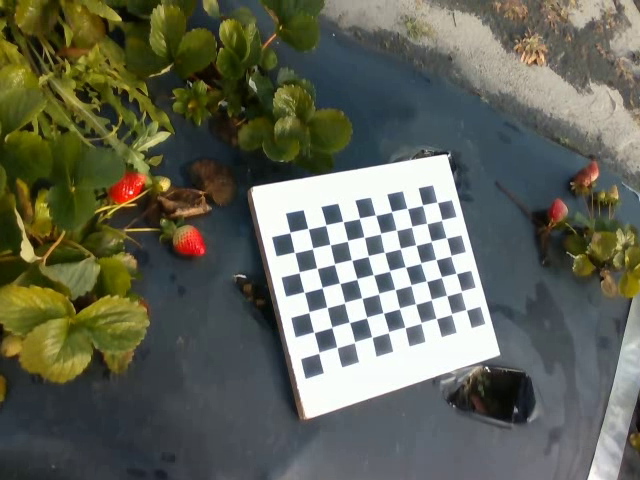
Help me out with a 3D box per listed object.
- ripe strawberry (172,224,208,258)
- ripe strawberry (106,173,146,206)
[{"bbox_3d":[-0.143,0.003,0.707,0.043,0.035,0.029,41,-23,-7],"label":"ripe strawberry"},{"bbox_3d":[-0.207,-0.060,0.688,0.048,0.040,0.031,-26,2,17],"label":"ripe strawberry"}]
